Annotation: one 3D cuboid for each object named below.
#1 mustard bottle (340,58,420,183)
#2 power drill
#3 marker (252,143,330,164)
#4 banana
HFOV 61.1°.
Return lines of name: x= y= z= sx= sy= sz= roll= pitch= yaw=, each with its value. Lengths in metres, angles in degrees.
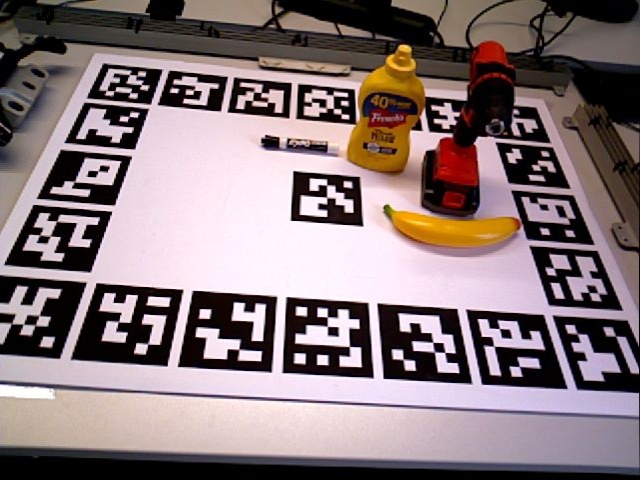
mustard bottle: x=0.091 y=-0.171 z=0.779 sx=0.096 sy=0.196 sz=0.057 roll=15 pitch=50 yaw=1
power drill: x=0.196 y=-0.122 z=0.734 sx=0.057 sy=0.191 sz=0.180 roll=17 pitch=49 yaw=2
marker: x=-0.045 y=-0.135 z=0.844 sx=0.120 sy=0.020 sz=0.019 roll=7 pitch=52 yaw=-3
banana: x=0.173 y=0.006 z=0.755 sx=0.197 sy=0.040 sz=0.073 roll=10 pitch=53 yaw=2
